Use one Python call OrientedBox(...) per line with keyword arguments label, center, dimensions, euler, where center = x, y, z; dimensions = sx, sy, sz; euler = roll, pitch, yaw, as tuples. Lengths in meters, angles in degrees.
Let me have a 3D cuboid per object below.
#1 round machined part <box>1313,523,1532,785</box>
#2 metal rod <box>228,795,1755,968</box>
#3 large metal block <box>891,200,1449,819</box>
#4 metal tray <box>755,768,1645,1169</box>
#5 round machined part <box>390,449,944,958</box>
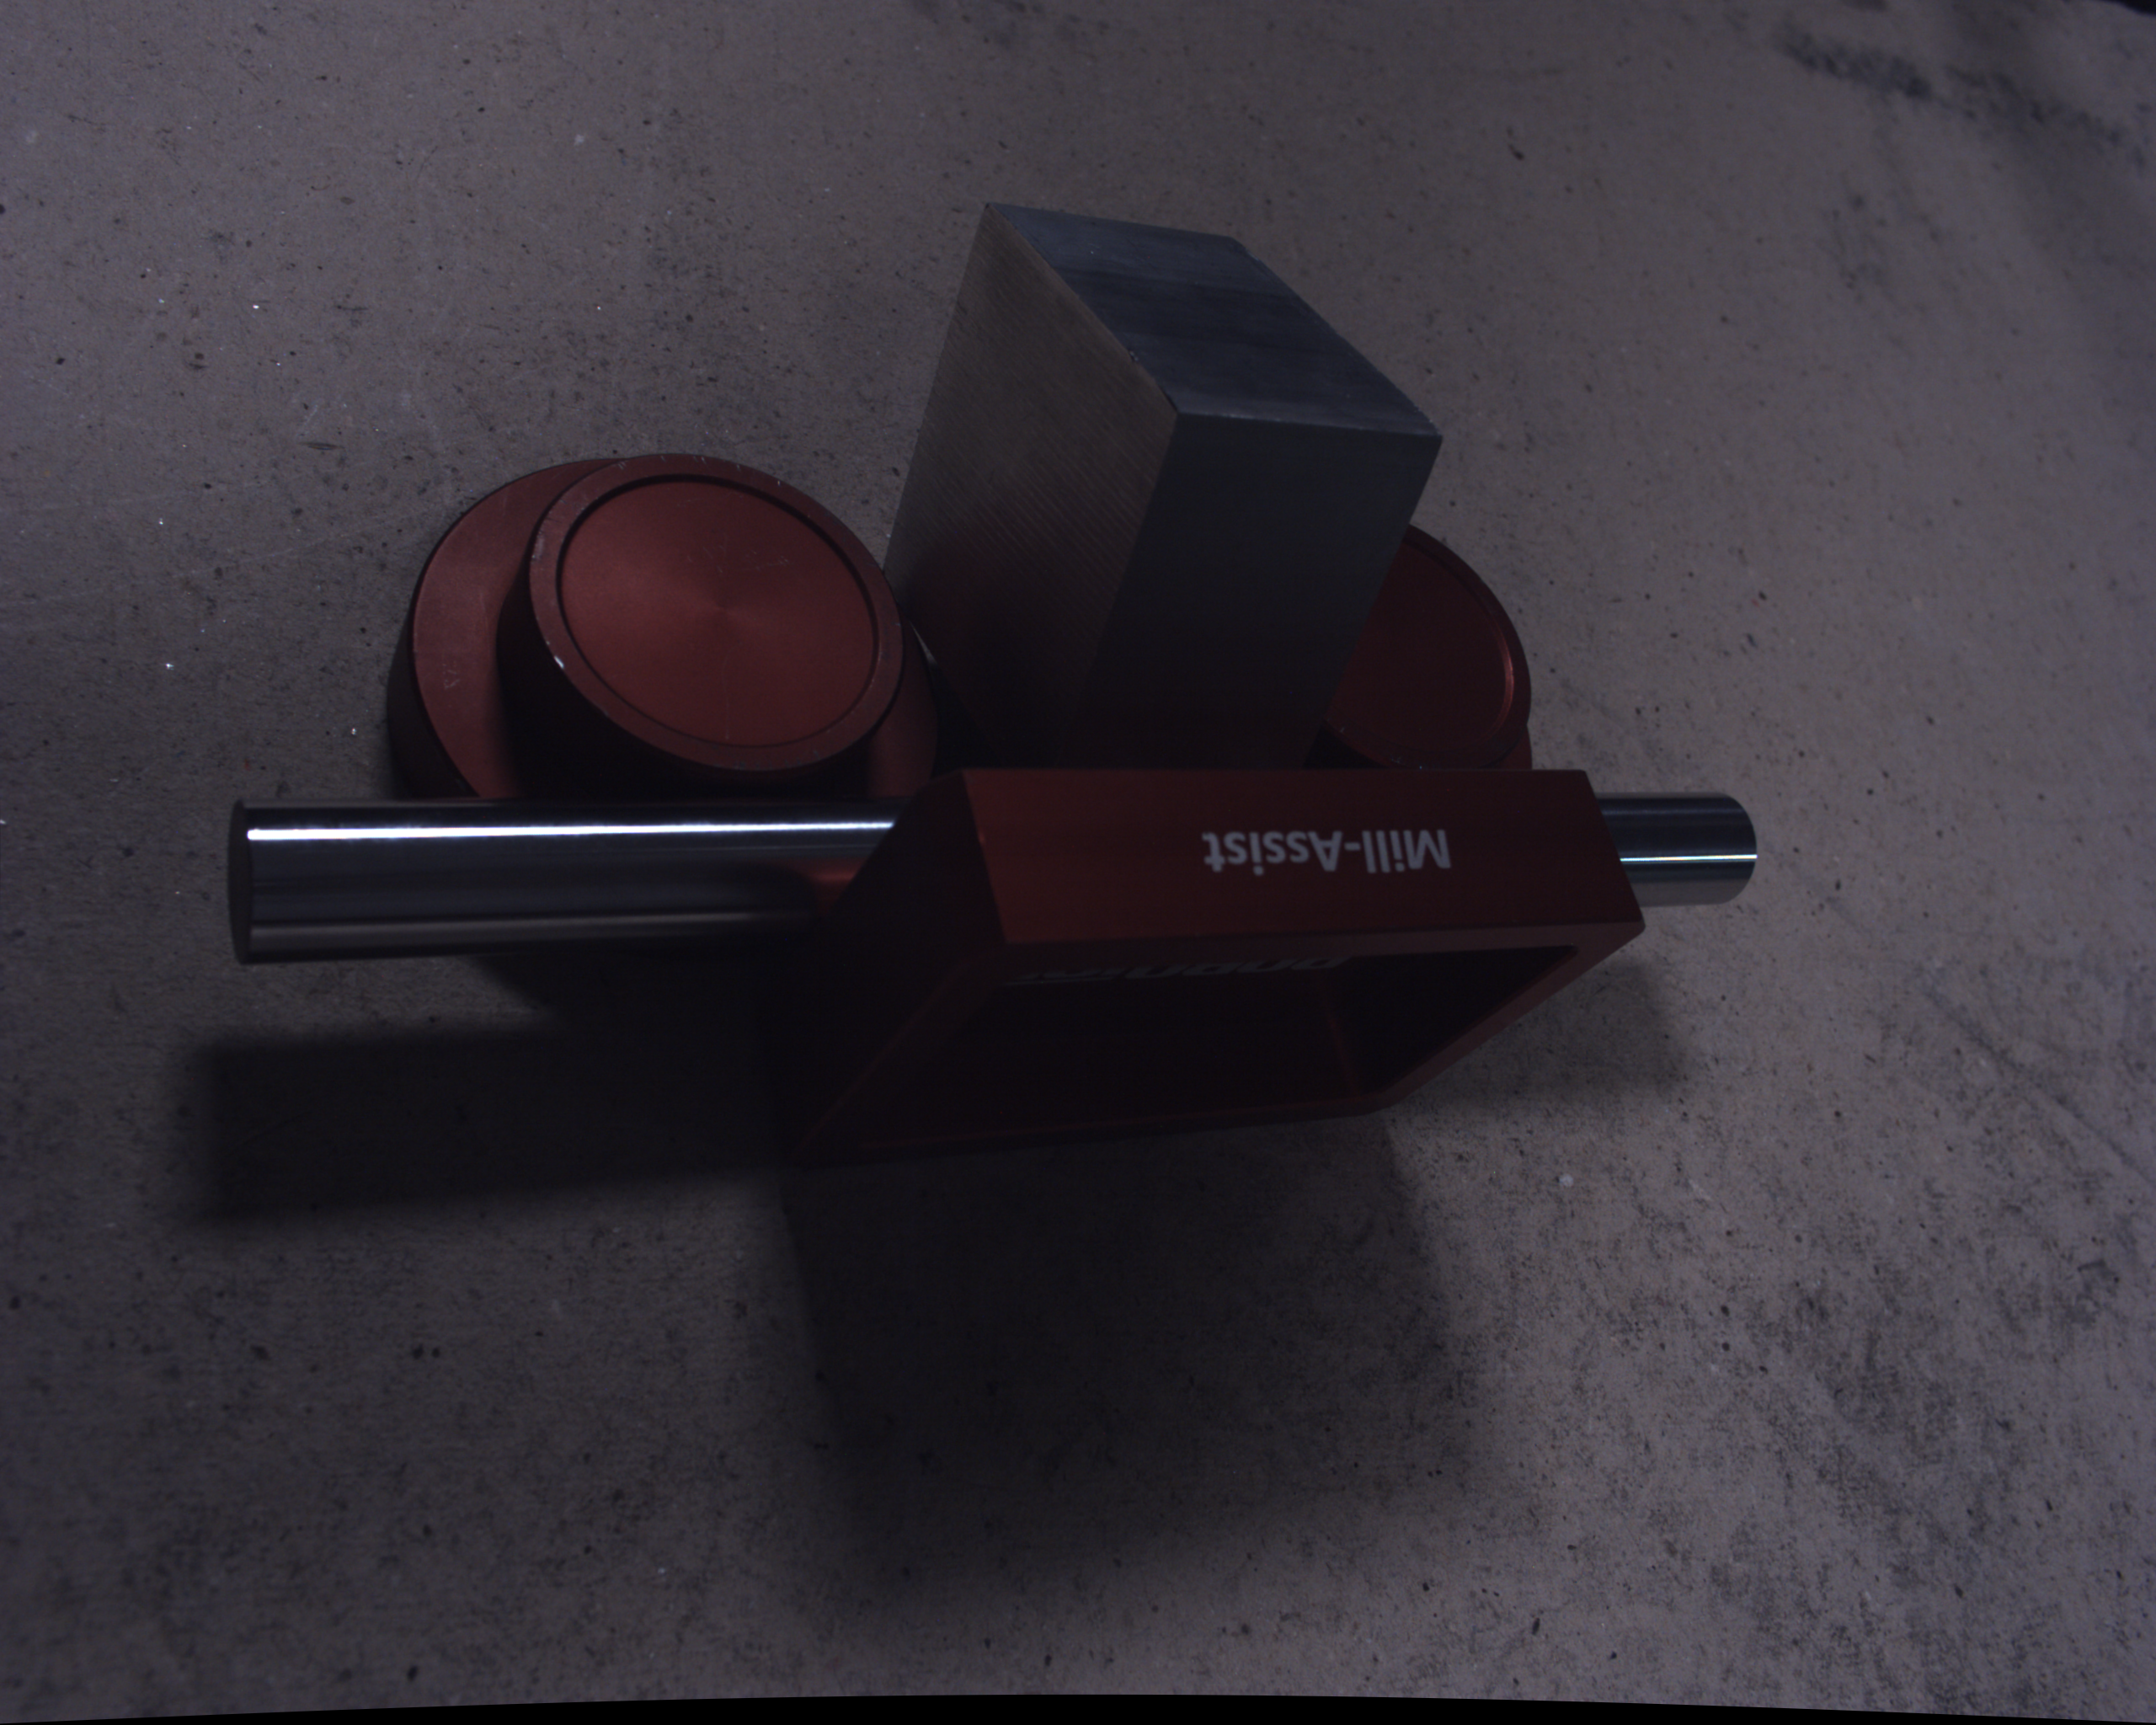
OrientedBox(label="round machined part", center=(0.057, -0.038, 0.449), dimensions=(0.099, 0.042, 0.098), euler=(14, 56, -21))
OrientedBox(label="metal rod", center=(0.007, 0.000, 0.384), dimensions=(0.303, 0.025, 0.025), euler=(-1, 63, -29))
OrientedBox(label="large metal block", center=(0.012, -0.064, 0.383), dimensions=(0.050, 0.079, 0.080), euler=(-2, 39, -30))
OrientedBox(label="metal tray", center=(0.020, 0.019, 0.364), dimensions=(0.131, 0.090, 0.030), euler=(-1, 63, -29))
OrientedBox(label="round machined part", center=(-0.070, -0.035, 0.377), dimensions=(0.099, 0.042, 0.098), euler=(14, 56, -21))
